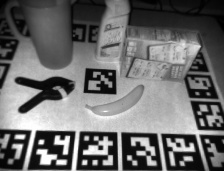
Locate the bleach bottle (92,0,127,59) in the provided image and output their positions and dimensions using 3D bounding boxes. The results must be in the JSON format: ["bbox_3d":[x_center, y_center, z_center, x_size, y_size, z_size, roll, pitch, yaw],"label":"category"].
[{"bbox_3d":[-0.011,-0.197,0.693,0.103,0.251,0.067,3,52,-3],"label":"bleach bottle"}]

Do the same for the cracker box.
[{"bbox_3d":[0.138,-0.109,0.682,0.214,0.165,0.071,4,50,-1],"label":"cracker box"}]

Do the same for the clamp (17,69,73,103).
[{"bbox_3d":[-0.201,-0.010,0.660,0.166,0.036,0.121,-8,53,-15],"label":"clamp"}]

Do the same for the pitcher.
[{"bbox_3d":[-0.198,-0.190,0.639,0.190,0.243,0.132,-10,54,-17],"label":"pitcher"}]

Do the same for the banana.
[{"bbox_3d":[0.017,0.030,0.668,0.199,0.039,0.073,-25,59,-23],"label":"banana"}]
